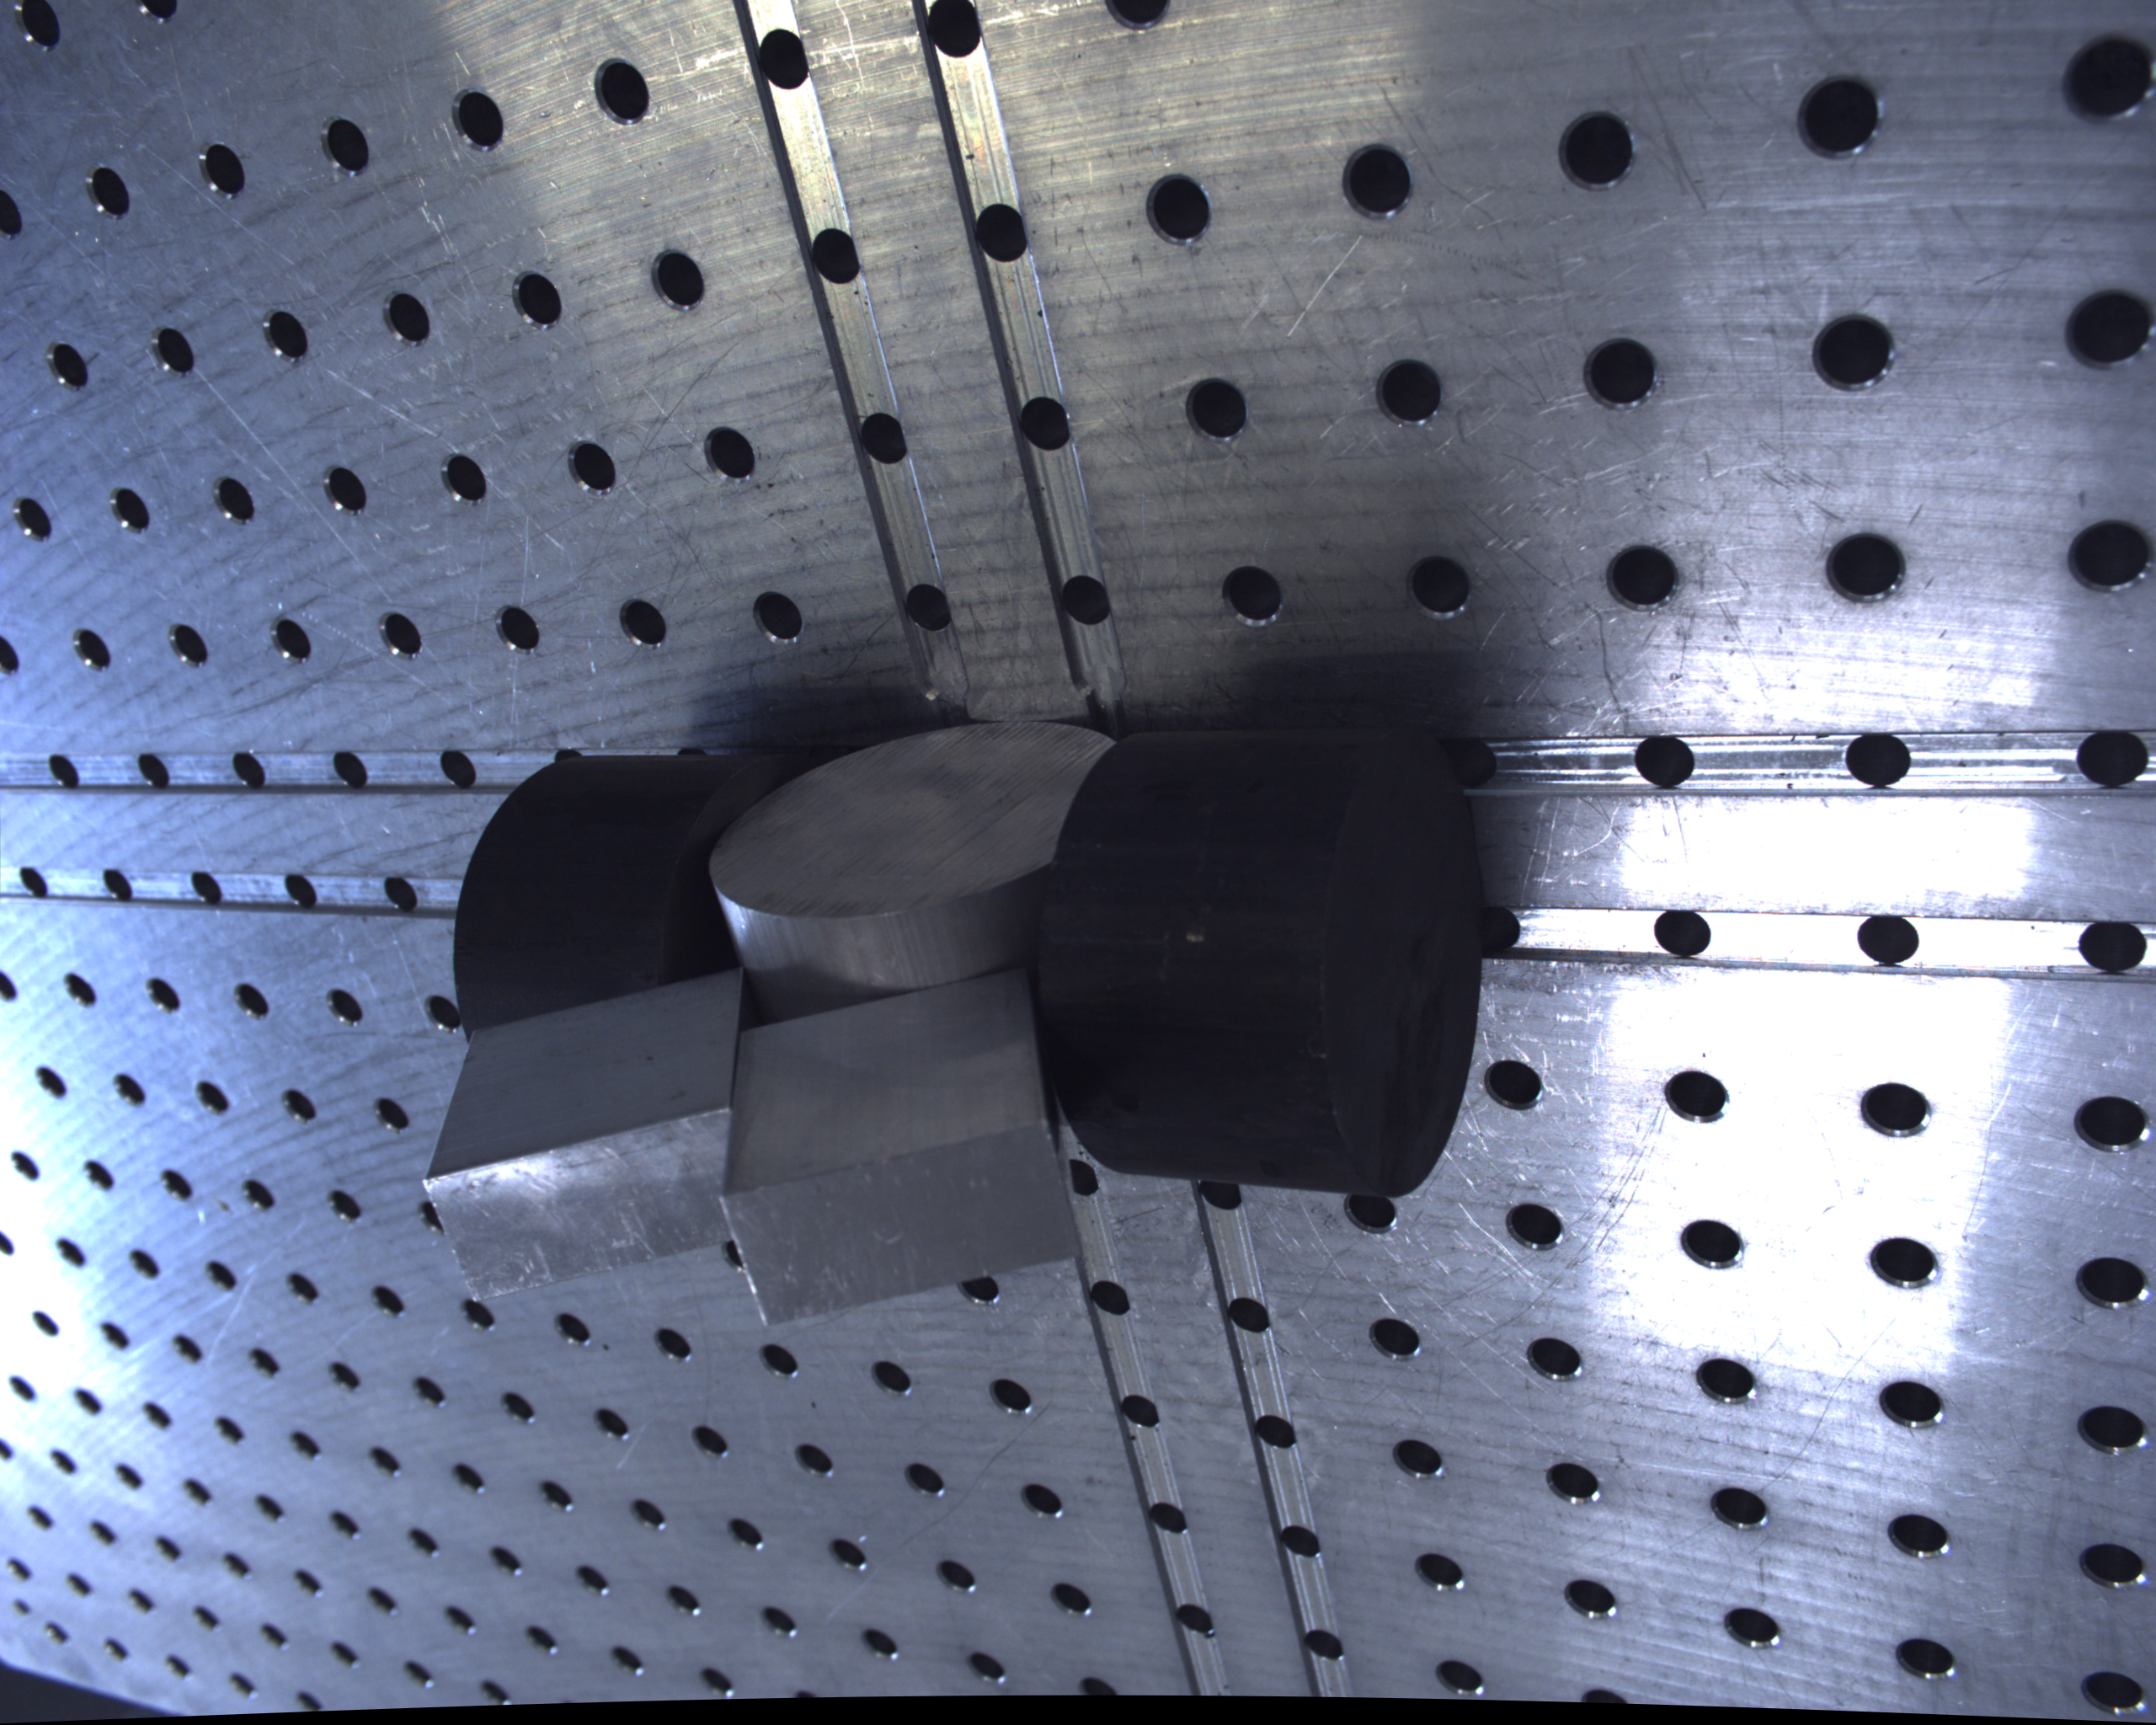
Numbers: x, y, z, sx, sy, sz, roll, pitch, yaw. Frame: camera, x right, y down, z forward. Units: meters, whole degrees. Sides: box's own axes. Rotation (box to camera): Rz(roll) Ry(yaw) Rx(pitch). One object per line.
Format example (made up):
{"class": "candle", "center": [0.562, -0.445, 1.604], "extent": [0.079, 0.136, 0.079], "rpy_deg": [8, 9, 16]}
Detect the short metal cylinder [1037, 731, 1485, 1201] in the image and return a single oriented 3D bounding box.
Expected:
{"class": "short metal cylinder", "center": [0.035, 0.017, 0.367], "extent": [0.050, 0.080, 0.080], "rpy_deg": [1, 119, 29]}

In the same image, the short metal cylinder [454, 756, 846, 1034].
{"class": "short metal cylinder", "center": [-0.080, 0.018, 0.428], "extent": [0.050, 0.080, 0.080], "rpy_deg": [1, 119, 28]}

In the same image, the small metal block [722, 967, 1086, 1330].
{"class": "small metal block", "center": [-0.028, 0.045, 0.338], "extent": [0.050, 0.050, 0.025], "rpy_deg": [-13, 115, 0]}

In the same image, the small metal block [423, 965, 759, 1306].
{"class": "small metal block", "center": [-0.080, 0.046, 0.360], "extent": [0.050, 0.050, 0.025], "rpy_deg": [-14, 115, -1]}

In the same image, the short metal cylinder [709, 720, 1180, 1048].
{"class": "short metal cylinder", "center": [-0.024, 0.012, 0.396], "extent": [0.080, 0.080, 0.050], "rpy_deg": [1, 119, 27]}
